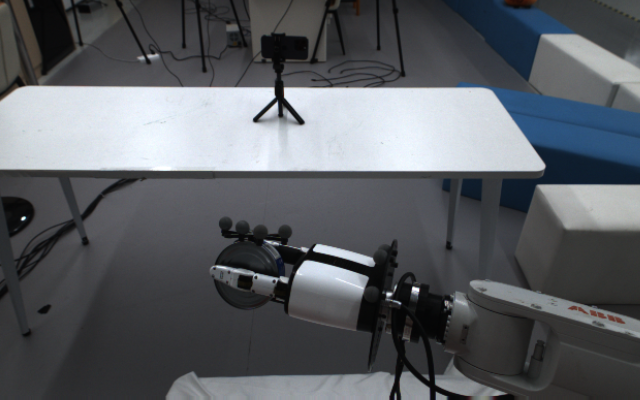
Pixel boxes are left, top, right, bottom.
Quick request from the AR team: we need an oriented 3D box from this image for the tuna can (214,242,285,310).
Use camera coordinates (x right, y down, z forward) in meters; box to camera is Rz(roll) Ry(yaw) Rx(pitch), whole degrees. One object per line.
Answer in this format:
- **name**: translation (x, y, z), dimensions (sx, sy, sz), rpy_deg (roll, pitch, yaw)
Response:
- **tuna can**: translation (-0.087, 0.092, 0.609), dimensions (0.085, 0.085, 0.034), rpy_deg (12, 2, 13)
